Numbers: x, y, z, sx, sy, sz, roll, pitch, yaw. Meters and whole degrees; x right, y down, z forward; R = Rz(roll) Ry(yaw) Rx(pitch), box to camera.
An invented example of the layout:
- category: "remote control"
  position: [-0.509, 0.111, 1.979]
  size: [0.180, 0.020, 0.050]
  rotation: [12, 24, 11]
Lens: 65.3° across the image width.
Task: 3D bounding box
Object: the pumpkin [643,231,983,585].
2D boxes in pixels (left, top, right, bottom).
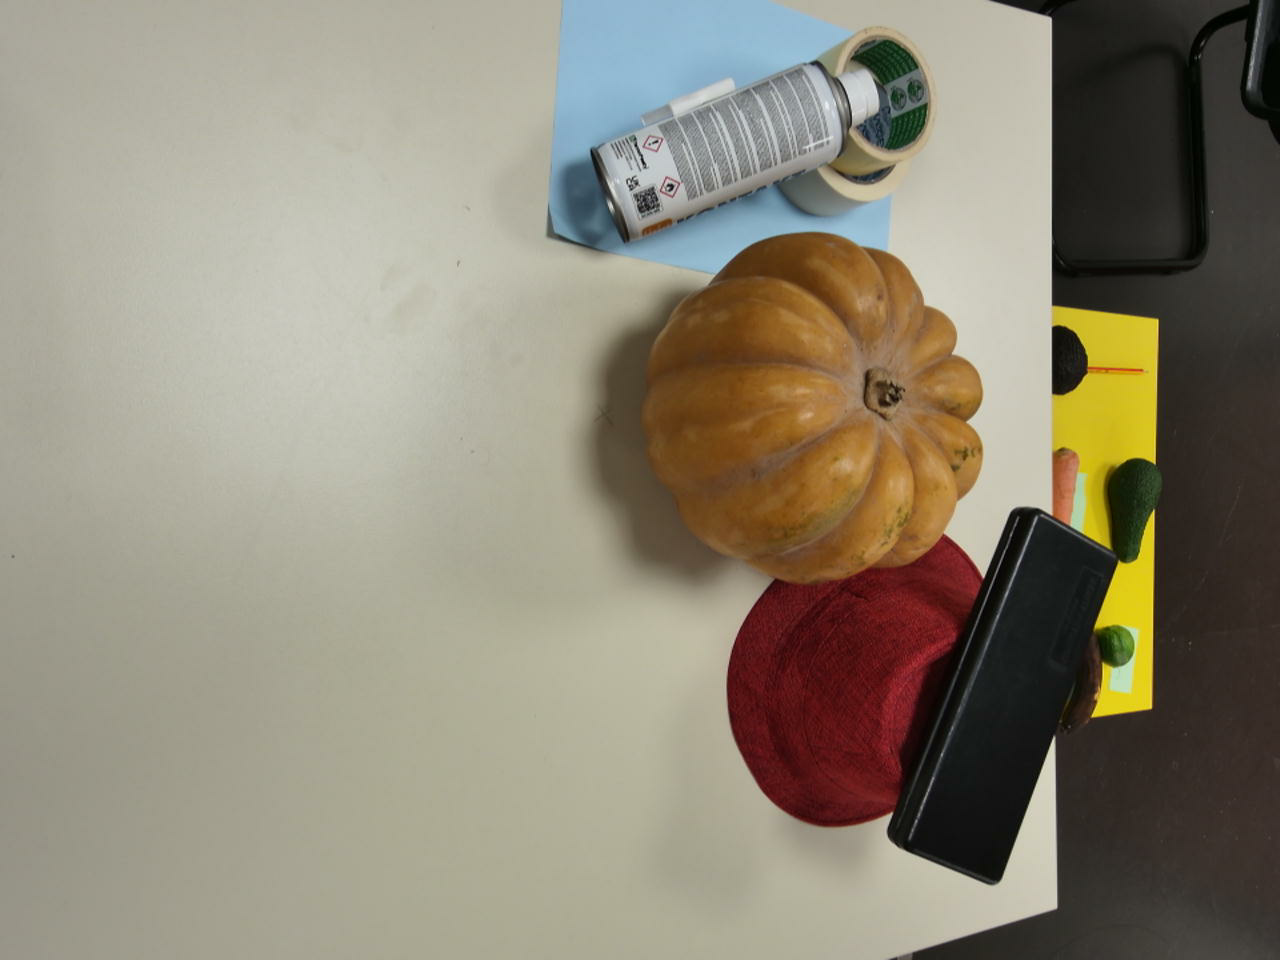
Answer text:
- category: "pumpkin"
  position: [0.110, -0.043, 0.659]
  size: [0.230, 0.194, 0.230]
  rotation: [0, 91, -28]
